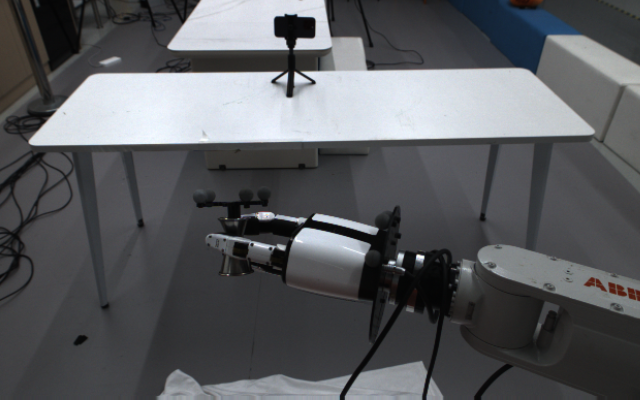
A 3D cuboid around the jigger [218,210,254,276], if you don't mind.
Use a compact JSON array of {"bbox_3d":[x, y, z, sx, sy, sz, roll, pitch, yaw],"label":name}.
[{"bbox_3d":[-0.103,0.056,0.589,0.043,0.071,0.043,-2,3,0],"label":"jigger"}]
